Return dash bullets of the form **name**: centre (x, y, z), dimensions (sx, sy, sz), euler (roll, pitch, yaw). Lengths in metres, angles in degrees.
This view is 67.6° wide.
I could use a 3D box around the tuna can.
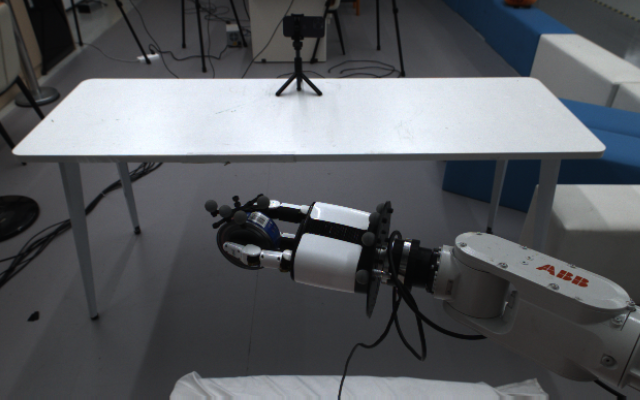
- **tuna can**: centre (-0.094, 0.056, 0.683), dimensions (0.085, 0.085, 0.034), euler (10, 33, 11)
